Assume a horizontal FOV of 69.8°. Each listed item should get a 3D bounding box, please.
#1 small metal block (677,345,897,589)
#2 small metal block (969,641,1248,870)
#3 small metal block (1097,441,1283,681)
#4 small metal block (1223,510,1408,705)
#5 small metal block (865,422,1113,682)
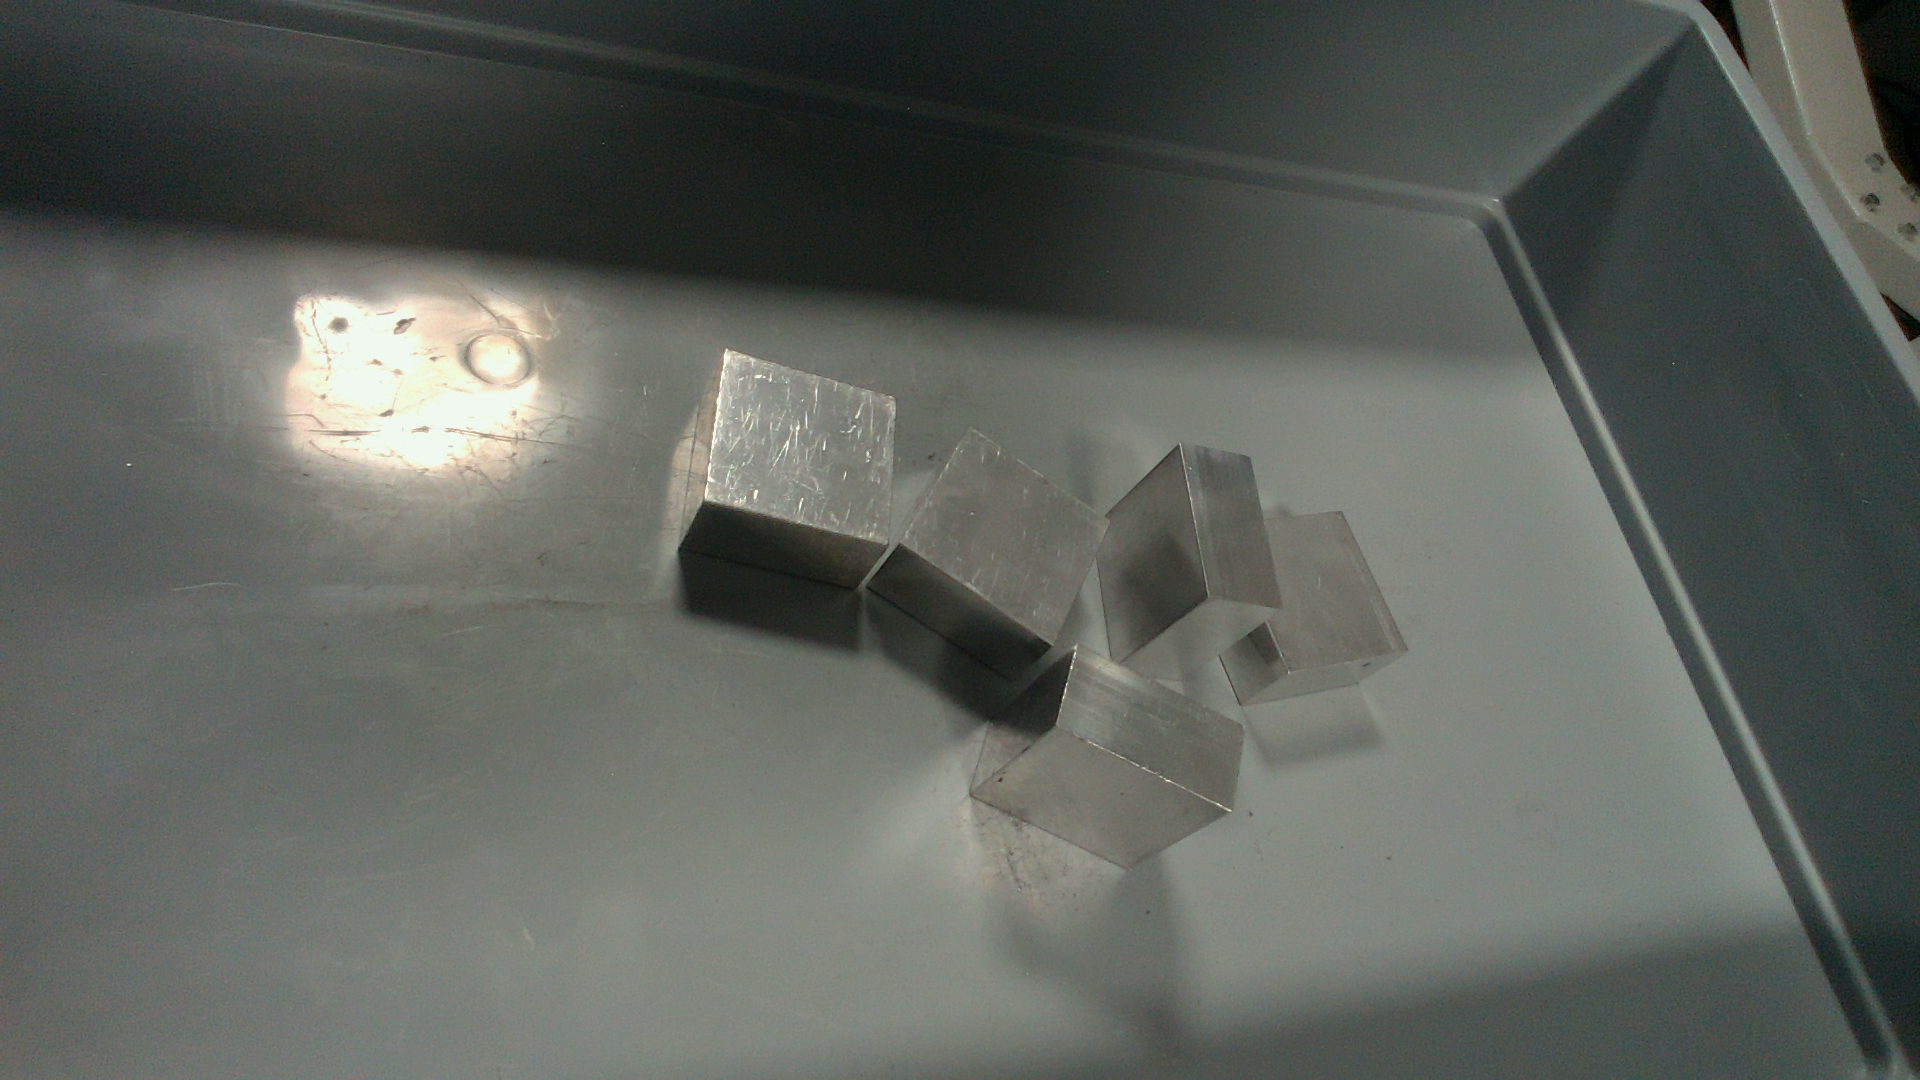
[{"bbox_3d":[-0.046,-0.019,0.374,0.050,0.025,0.050,14,56,-20],"label":"small metal block"},{"bbox_3d":[0.038,0.057,0.356,0.050,0.050,0.025,27,53,-12],"label":"small metal block"},{"bbox_3d":[0.065,0.007,0.402,0.025,0.050,0.050,9,58,-24],"label":"small metal block"},{"bbox_3d":[0.104,0.020,0.431,0.050,0.025,0.050,-6,64,-31],"label":"small metal block"},{"bbox_3d":[0.009,0.003,0.390,0.050,0.025,0.050,34,51,-6],"label":"small metal block"}]
